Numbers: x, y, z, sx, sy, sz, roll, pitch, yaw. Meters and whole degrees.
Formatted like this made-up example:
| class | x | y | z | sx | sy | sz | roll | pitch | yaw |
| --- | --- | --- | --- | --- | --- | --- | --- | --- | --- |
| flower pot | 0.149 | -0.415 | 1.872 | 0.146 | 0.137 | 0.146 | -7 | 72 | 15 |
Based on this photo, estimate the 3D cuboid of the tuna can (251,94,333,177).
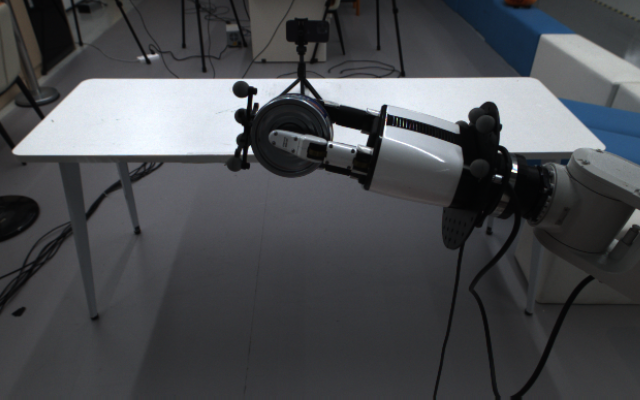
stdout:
| class | x | y | z | sx | sy | sz | roll | pitch | yaw |
| --- | --- | --- | --- | --- | --- | --- | --- | --- | --- |
| tuna can | -0.026 | -0.064 | 0.510 | 0.085 | 0.085 | 0.034 | 4 | 18 | 3 |
